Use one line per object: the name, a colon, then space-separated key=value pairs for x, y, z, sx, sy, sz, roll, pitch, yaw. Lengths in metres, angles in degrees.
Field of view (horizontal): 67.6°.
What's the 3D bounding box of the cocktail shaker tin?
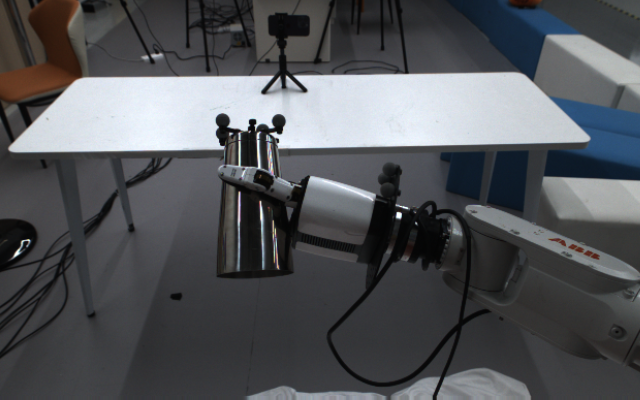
cocktail shaker tin: x=-0.082 y=0.008 z=0.595 sx=0.093 sy=0.093 sz=0.170 roll=-3 pitch=76 yaw=-7
